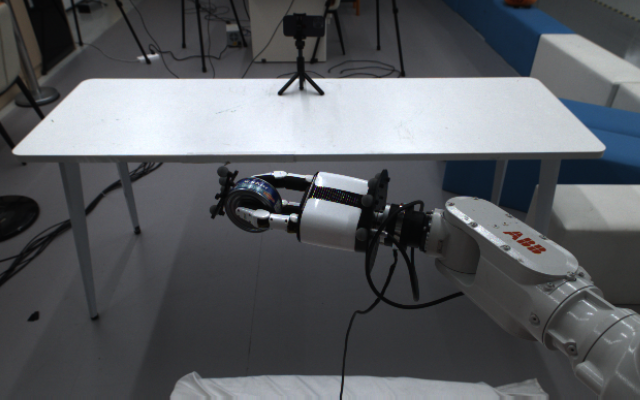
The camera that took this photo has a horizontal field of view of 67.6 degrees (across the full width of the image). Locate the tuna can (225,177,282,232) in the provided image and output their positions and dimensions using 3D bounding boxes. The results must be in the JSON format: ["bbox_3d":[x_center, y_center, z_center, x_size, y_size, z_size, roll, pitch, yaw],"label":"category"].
[{"bbox_3d":[-0.102,0.013,0.748,0.085,0.085,0.034,9,36,10],"label":"tuna can"}]
